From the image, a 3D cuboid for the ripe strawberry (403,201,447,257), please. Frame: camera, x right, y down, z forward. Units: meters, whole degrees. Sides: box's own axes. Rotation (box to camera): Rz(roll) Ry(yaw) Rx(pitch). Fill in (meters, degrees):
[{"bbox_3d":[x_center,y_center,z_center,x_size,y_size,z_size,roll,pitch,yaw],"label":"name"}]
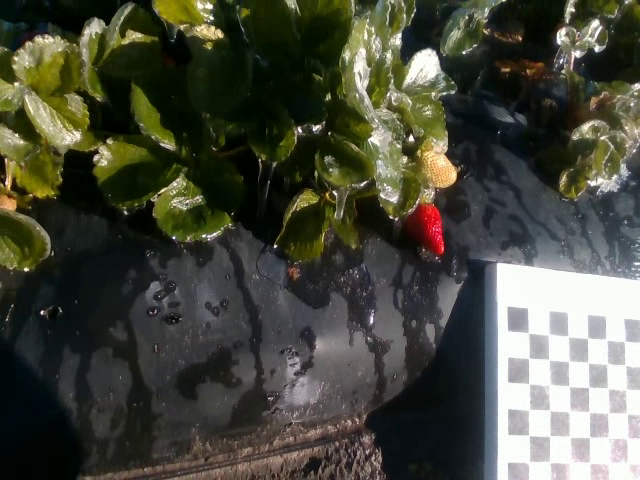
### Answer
[{"bbox_3d":[0.108,-0.012,0.565,0.041,0.052,0.040,-11,-13,-22],"label":"ripe strawberry"}]
